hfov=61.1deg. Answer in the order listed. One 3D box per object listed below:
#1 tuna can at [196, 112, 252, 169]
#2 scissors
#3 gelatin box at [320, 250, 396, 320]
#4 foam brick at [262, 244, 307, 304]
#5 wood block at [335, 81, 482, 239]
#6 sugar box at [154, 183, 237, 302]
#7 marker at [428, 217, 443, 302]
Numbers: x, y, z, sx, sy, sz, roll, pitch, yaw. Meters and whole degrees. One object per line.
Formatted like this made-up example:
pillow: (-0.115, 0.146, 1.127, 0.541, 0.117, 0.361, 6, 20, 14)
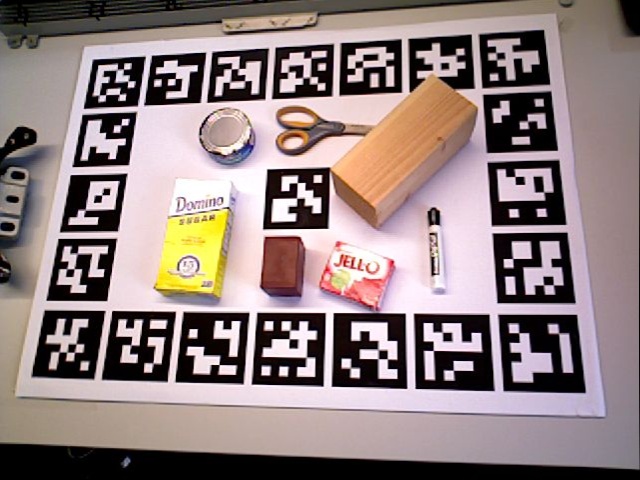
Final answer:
tuna can: (-0.152, -0.158, 0.866, 0.086, 0.034, 0.085, -3, 74, 8)
scissors: (0.021, -0.162, 0.852, 0.203, 0.016, 0.087, 7, 75, 13)
gelatin box: (0.054, 0.063, 0.773, 0.089, 0.030, 0.073, 19, 78, 14)
foam brick: (-0.050, 0.050, 0.778, 0.053, 0.052, 0.077, 2, 74, 9)
wood block: (0.129, -0.112, 0.784, 0.205, 0.091, 0.090, -43, 71, -6)
sugar box: (-0.186, 0.003, 0.823, 0.093, 0.045, 0.175, 5, 75, 9)
marker: (0.164, 0.026, 0.770, 0.019, 0.020, 0.120, 2, 76, 9)
